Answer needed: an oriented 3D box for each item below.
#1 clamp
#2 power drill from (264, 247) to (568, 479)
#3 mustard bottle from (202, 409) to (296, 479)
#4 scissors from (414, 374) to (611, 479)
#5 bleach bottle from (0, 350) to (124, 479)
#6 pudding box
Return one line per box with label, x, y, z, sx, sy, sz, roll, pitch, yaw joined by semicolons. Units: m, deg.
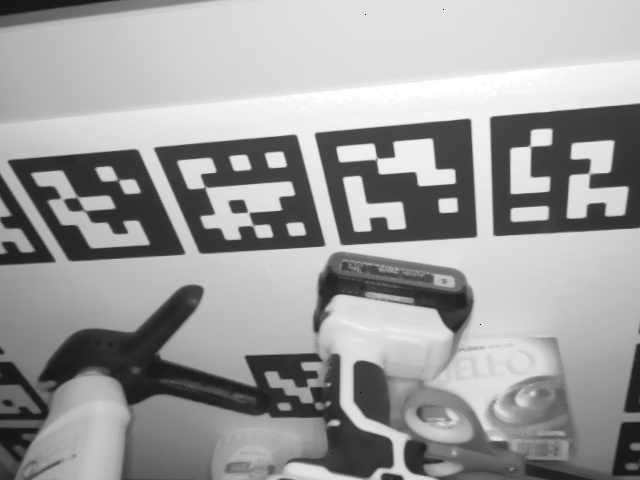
clamp;-0.166;0.098;0.597;0.201;0.037;0.164;-7;127;15
power drill;0.065;0.095;0.447;0.185;0.189;0.057;6;137;-1
mustard bottle;-0.077;0.250;0.638;0.096;0.193;0.058;9;131;2
scissors;0.147;0.153;0.503;0.203;0.016;0.086;19;126;-3
bleach bottle;-0.211;0.179;0.532;0.102;0.252;0.068;-22;128;16
pudding box;0.145;0.106;0.549;0.113;0.091;0.038;1;137;7
